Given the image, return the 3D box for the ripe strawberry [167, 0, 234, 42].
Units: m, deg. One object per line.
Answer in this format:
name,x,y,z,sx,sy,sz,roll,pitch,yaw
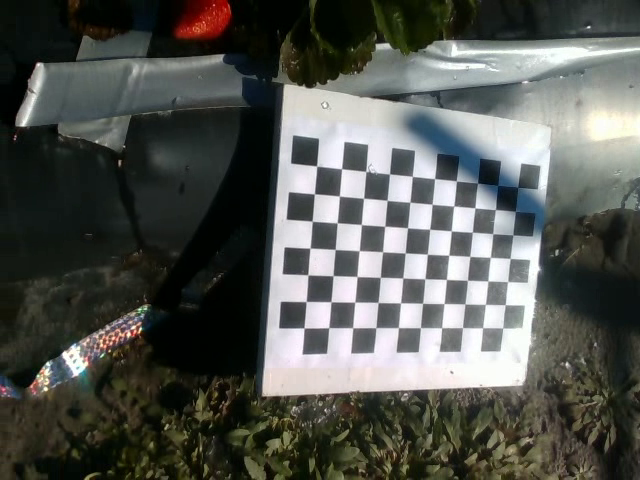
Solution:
ripe strawberry,-0.102,-0.182,0.488,0.061,0.065,0.058,38,-52,-23
